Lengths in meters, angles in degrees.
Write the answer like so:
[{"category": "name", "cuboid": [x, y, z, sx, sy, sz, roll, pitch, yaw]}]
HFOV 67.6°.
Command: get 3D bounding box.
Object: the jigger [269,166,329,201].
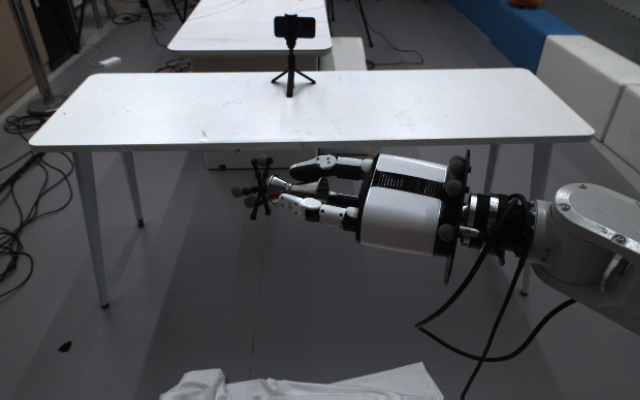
[{"category": "jigger", "cuboid": [-0.020, -0.017, 0.610, 0.071, 0.043, 0.043, 5, 34, 20]}]
